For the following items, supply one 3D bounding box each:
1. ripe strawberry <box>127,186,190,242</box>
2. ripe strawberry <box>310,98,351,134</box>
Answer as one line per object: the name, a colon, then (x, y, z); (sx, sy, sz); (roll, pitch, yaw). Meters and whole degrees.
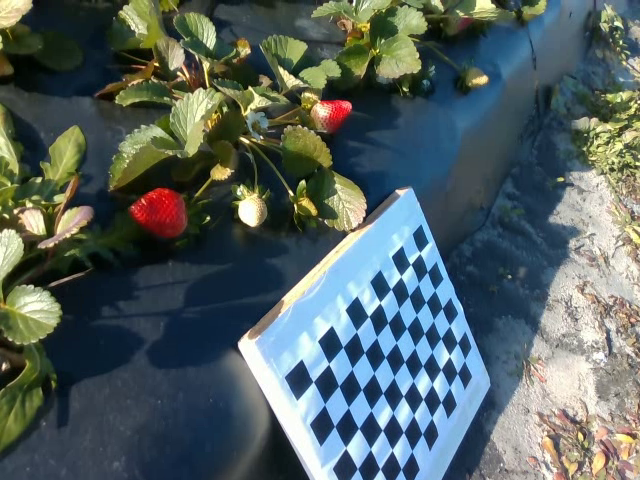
ripe strawberry: (-0.113, -0.020, 0.416); (0.036, 0.044, 0.053); (-7, -2, 34)
ripe strawberry: (0.012, -0.115, 0.555); (0.045, 0.037, 0.042); (-28, 32, 18)
